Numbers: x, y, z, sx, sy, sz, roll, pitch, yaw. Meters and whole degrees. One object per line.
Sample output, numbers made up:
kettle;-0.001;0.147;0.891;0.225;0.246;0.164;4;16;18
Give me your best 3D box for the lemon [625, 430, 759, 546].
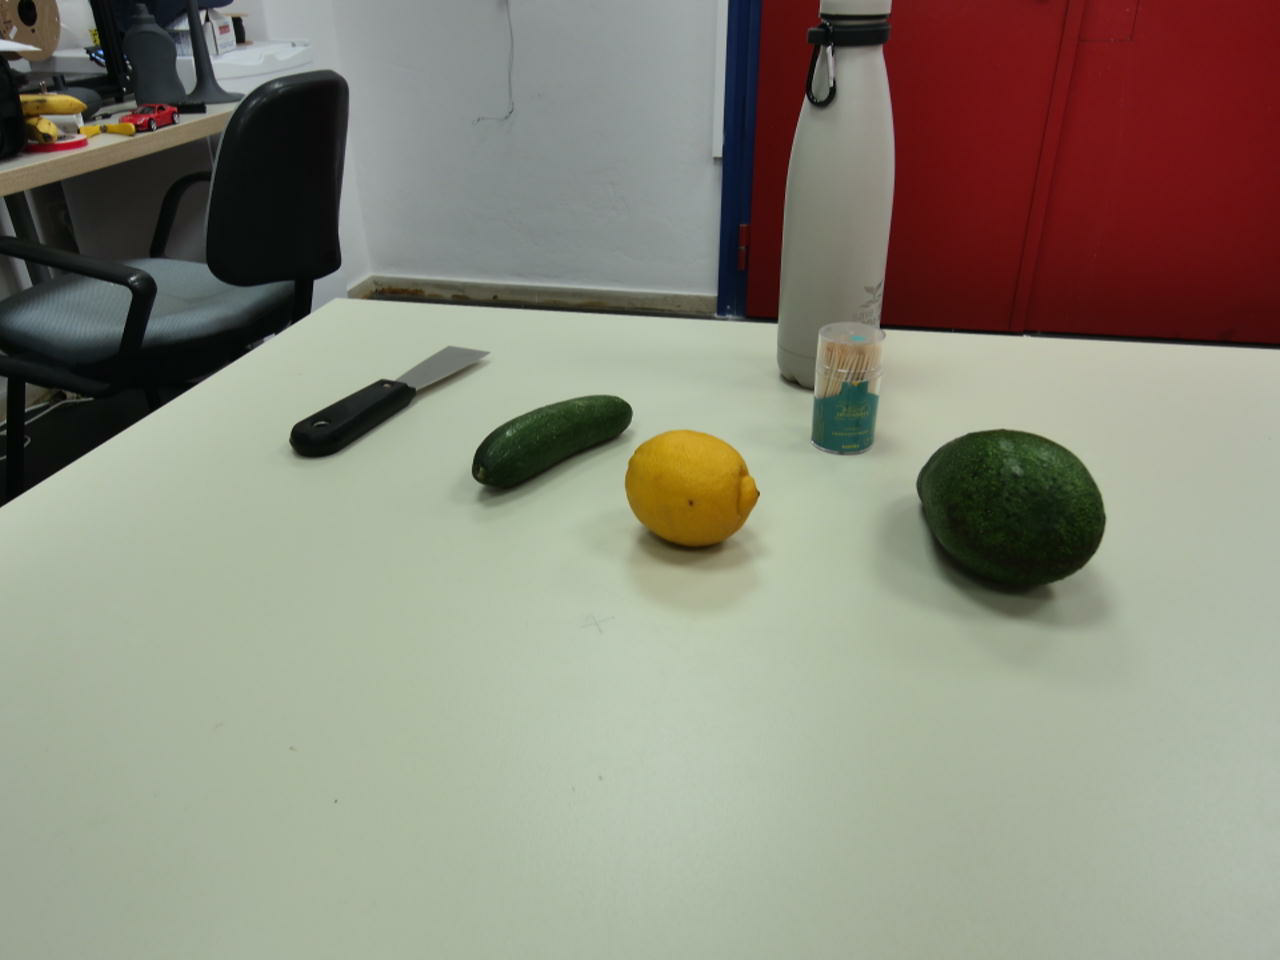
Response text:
lemon;0.025;0.005;0.524;0.060;0.059;0.067;-17;30;-32
